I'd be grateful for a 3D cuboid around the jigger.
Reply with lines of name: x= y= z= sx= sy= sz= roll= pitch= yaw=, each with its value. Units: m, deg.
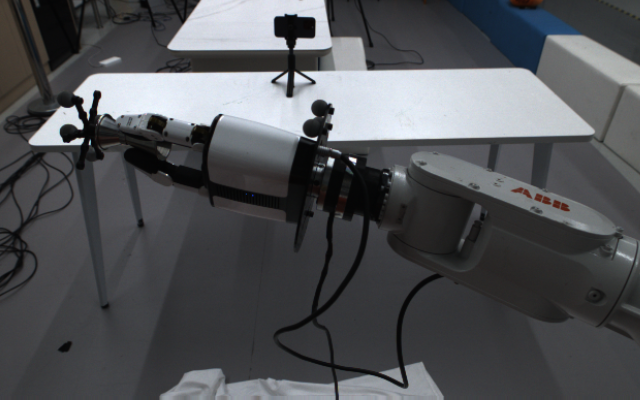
jigger: x=-0.196 y=-0.072 z=0.527 sx=0.071 sy=0.043 sz=0.043 roll=8 pitch=35 yaw=2
